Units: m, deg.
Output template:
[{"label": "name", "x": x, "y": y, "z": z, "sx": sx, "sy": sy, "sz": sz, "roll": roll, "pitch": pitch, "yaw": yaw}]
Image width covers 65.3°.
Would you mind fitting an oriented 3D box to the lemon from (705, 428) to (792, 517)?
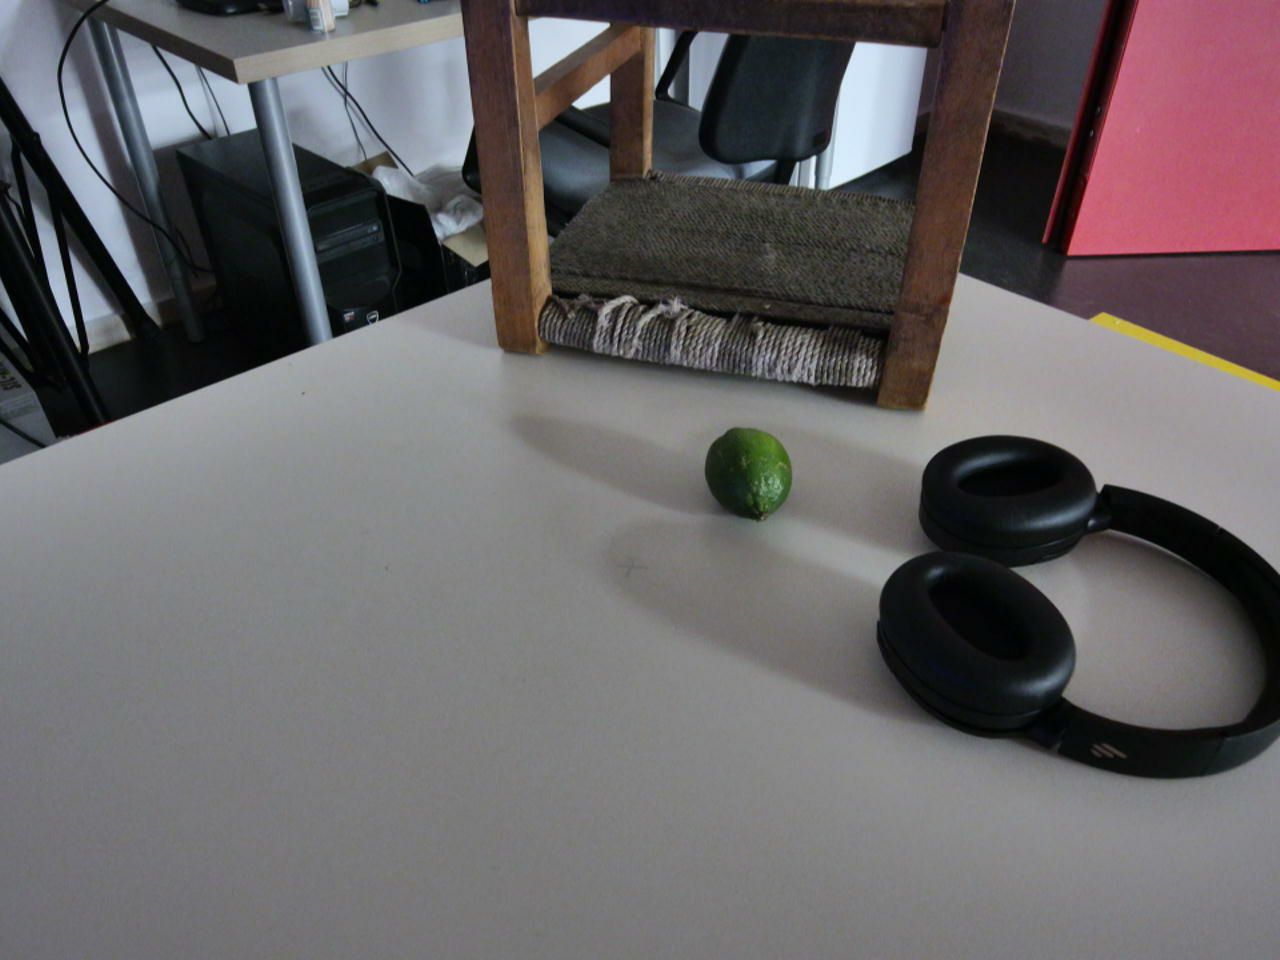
[{"label": "lemon", "x": 0.067, "y": -0.006, "z": 0.618, "sx": 0.054, "sy": 0.051, "sz": 0.057, "roll": -30, "pitch": 47, "yaw": -34}]
